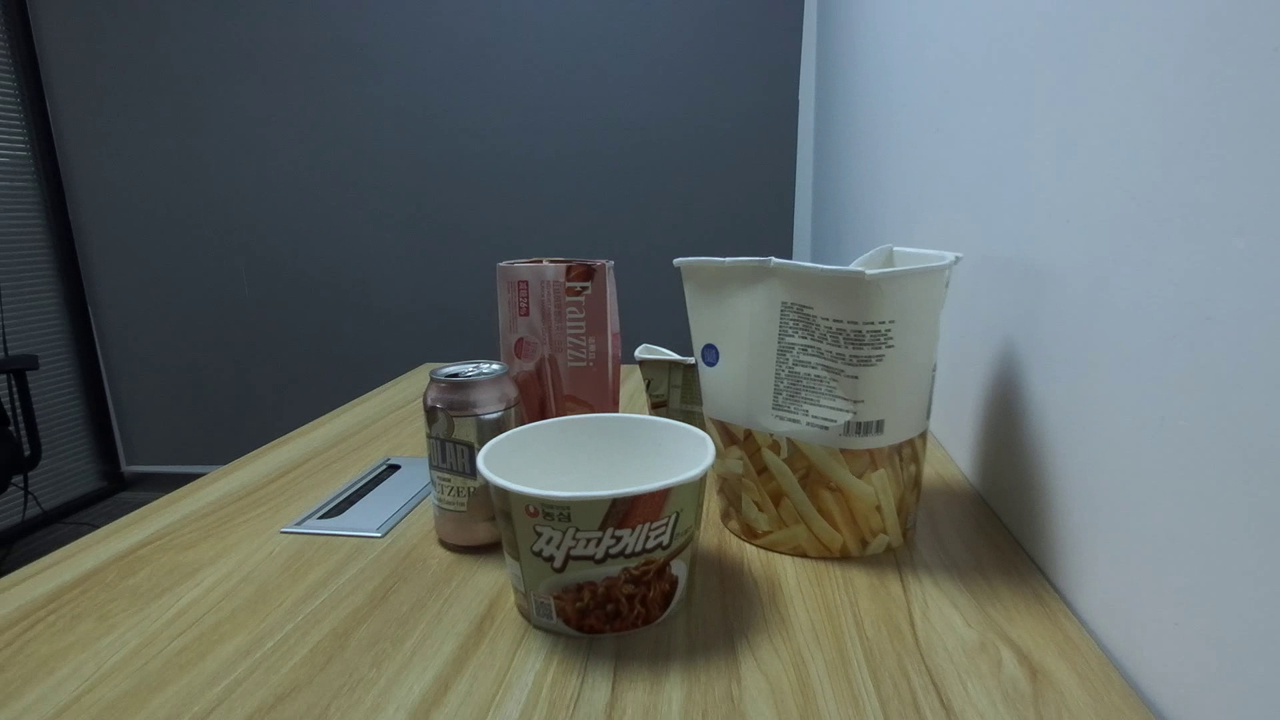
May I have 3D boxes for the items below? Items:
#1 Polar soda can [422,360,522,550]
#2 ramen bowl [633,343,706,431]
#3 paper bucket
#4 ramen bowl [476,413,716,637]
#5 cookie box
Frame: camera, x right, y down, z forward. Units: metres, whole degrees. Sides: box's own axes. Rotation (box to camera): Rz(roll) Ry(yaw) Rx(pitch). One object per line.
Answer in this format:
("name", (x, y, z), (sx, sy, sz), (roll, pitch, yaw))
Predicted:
("Polar soda can", (-0.118, 0.068, 0.509), (0.067, 0.125, 0.067), (-2, 12, 1))
("ramen bowl", (0.061, 0.031, 0.693), (0.128, 0.093, 0.112), (3, 16, 28))
("paper bucket", (0.137, 0.020, 0.516), (0.163, 0.202, 0.168), (-11, 18, -41))
("ramen bowl", (-0.024, 0.097, 0.428), (0.140, 0.095, 0.140), (0, 11, 0))
("cookie box", (-0.067, 0.002, 0.635), (0.105, 0.187, 0.049), (0, 11, 8))
